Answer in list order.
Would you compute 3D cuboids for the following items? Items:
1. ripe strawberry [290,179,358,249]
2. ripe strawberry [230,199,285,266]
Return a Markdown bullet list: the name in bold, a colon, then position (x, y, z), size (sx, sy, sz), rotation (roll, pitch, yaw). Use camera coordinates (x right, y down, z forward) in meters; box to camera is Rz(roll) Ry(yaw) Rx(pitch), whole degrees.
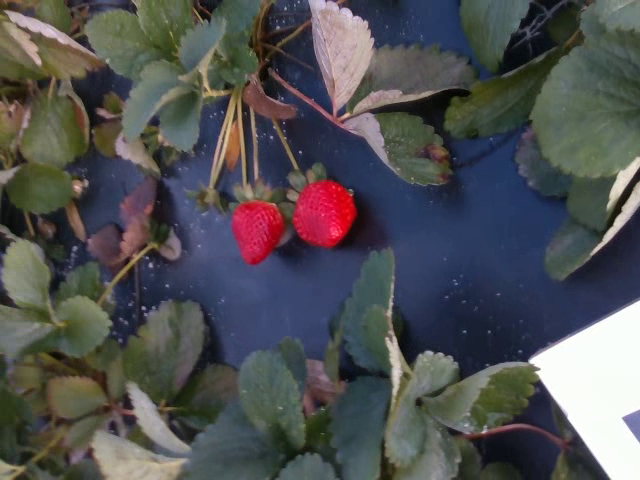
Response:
- **ripe strawberry**: position (0.000, -0.015, 0.427), size (0.051, 0.058, 0.064), rotation (21, 21, -32)
- **ripe strawberry**: position (-0.050, -0.004, 0.463), size (0.048, 0.056, 0.041), rotation (-21, -32, 29)
